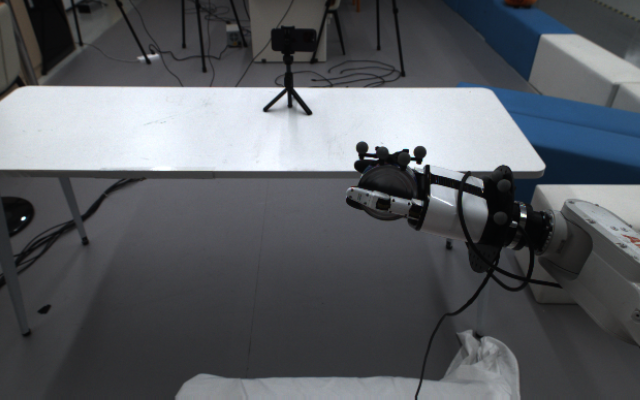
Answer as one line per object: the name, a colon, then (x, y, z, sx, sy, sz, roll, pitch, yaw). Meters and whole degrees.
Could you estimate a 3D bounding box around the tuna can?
tuna can: (0.097, -0.017, 0.695, 0.085, 0.085, 0.034, 9, 24, 10)
